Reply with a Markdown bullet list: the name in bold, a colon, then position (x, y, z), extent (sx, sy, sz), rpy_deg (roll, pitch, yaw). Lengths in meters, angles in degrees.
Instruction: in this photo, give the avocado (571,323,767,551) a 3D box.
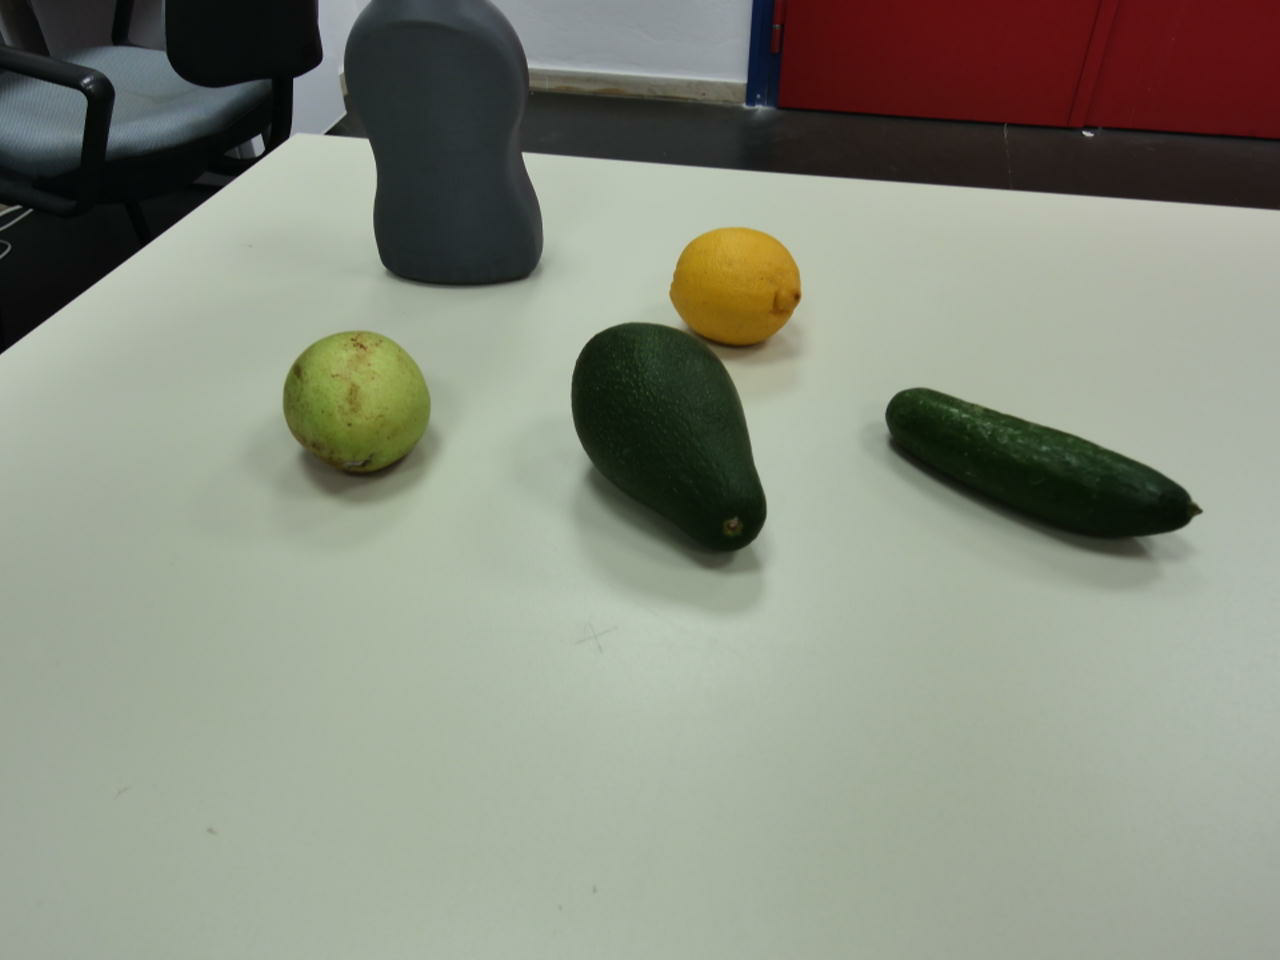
- **avocado**: position (0.009, -0.022, 0.420), extent (0.072, 0.071, 0.109), rpy_deg (-6, 38, -7)
